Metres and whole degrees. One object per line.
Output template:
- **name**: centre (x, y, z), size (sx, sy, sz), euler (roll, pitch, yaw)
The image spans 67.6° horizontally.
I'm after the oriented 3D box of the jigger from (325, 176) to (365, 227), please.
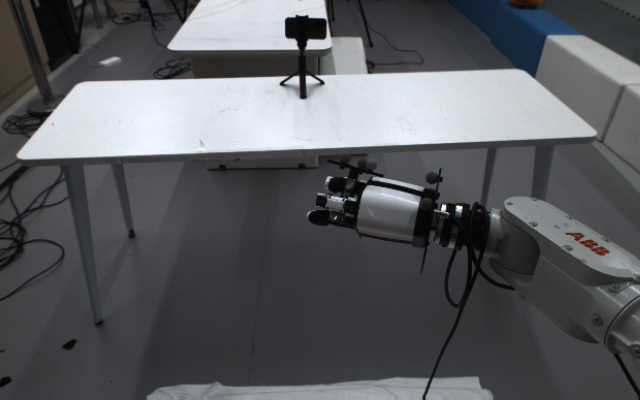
- **jigger**: centre (0.041, 0.000, 0.739), size (0.043, 0.071, 0.043), euler (17, 2, -1)
